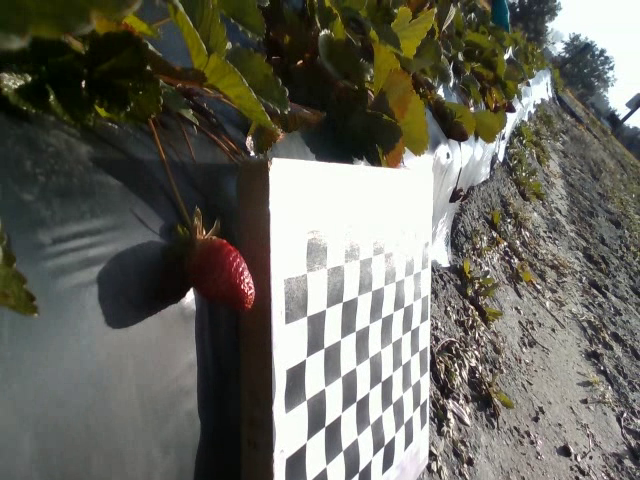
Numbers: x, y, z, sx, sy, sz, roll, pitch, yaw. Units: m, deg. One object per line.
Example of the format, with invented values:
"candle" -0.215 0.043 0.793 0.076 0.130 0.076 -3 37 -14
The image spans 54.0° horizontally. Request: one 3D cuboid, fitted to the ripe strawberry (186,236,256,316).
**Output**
"ripe strawberry" -0.038 0.016 0.244 0.037 0.033 0.034 43 22 17
